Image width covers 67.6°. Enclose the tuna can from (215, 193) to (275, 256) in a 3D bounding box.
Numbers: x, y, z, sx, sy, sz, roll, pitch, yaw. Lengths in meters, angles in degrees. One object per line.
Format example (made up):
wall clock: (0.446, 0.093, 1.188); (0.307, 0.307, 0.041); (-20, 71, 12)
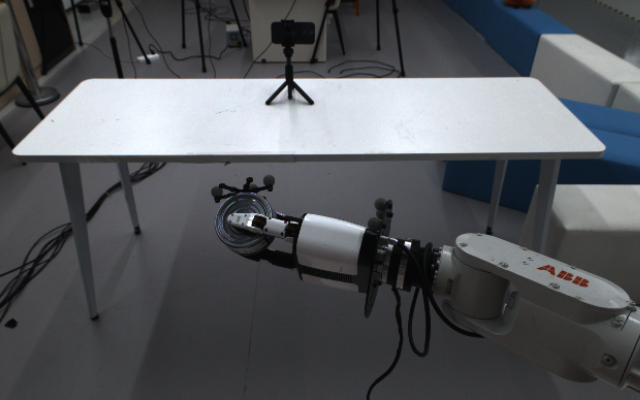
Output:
tuna can: (-0.101, 0.038, 0.683); (0.085, 0.034, 0.085); (-4, 68, 9)
